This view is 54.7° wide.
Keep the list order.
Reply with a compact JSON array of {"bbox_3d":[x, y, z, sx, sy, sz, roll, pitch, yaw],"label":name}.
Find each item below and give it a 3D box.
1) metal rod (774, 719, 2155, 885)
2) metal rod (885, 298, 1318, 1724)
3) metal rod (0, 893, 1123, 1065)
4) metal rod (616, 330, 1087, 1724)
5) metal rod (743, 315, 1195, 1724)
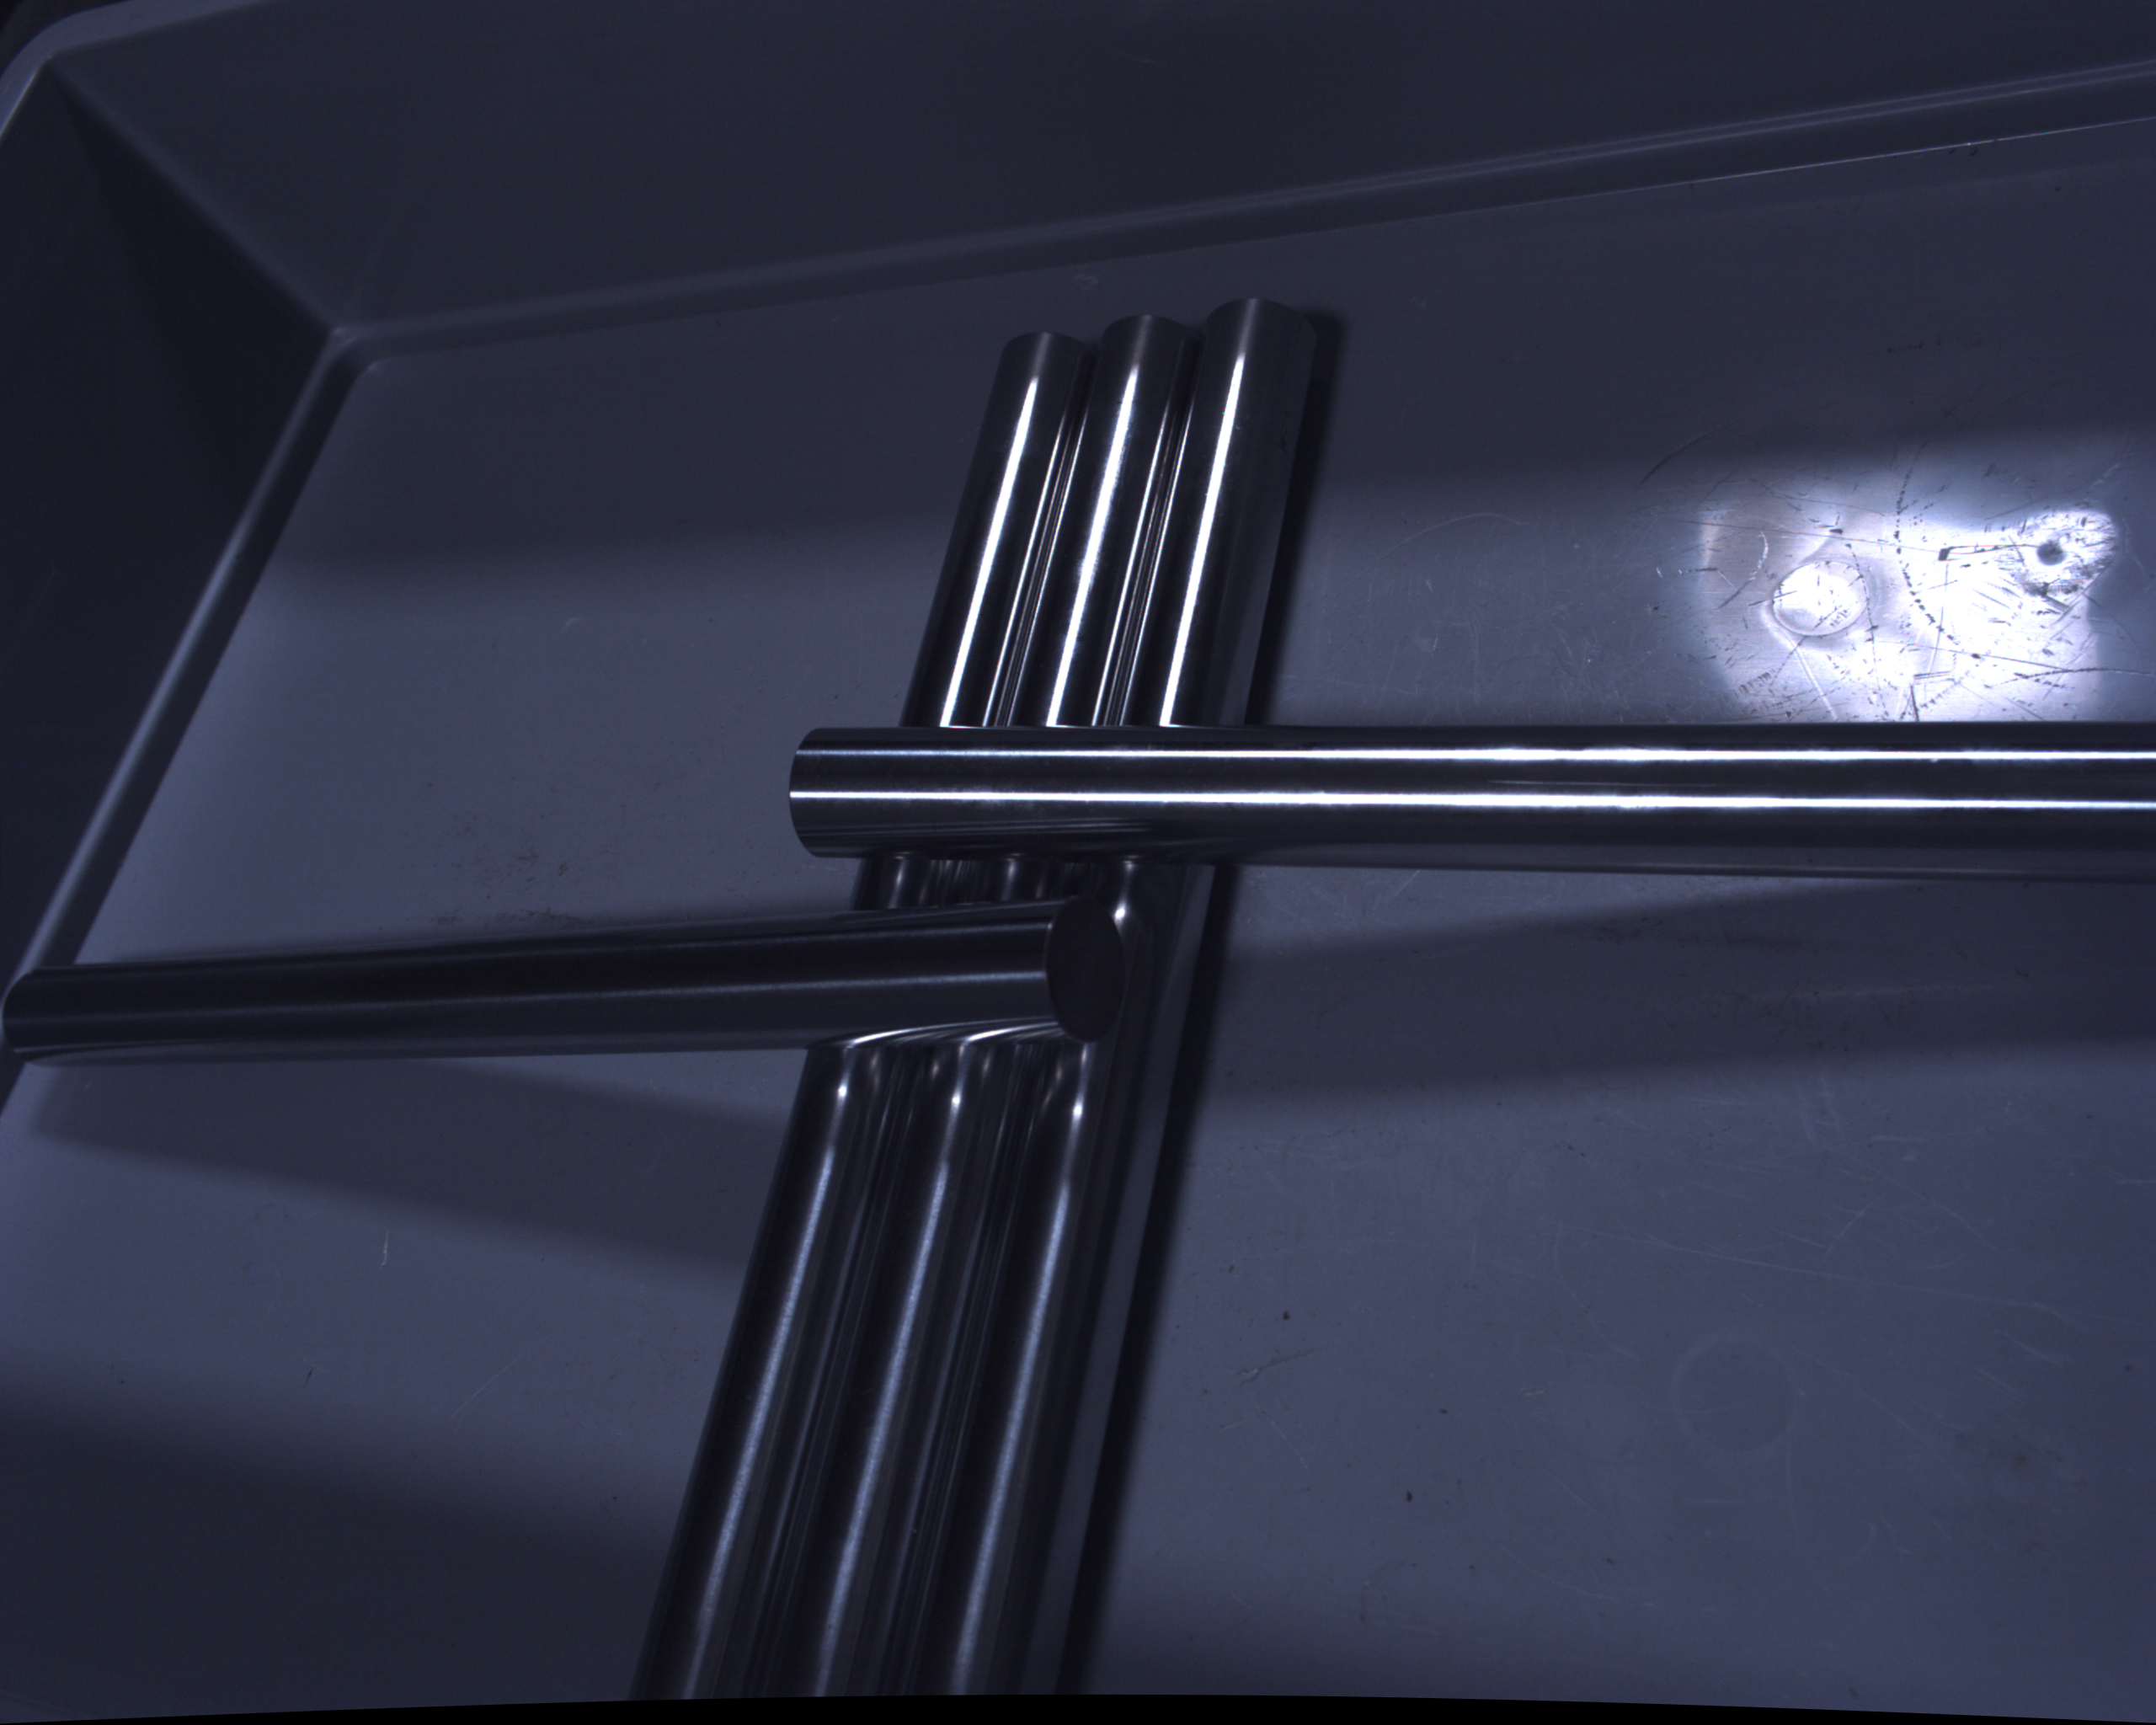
[{"bbox_3d":[0.089,-0.011,0.341,0.301,0.025,0.025,1,62,21],"label":"metal rod"},{"bbox_3d":[0.009,0.018,0.387,0.025,0.025,0.300,-1,61,27],"label":"metal rod"},{"bbox_3d":[-0.126,0.028,0.430,0.300,0.025,0.025,-4,60,32],"label":"metal rod"},{"bbox_3d":[-0.035,0.019,0.410,0.025,0.025,0.300,-1,61,27],"label":"metal rod"},{"bbox_3d":[-0.014,0.018,0.399,0.025,0.025,0.300,-1,61,27],"label":"metal rod"}]
